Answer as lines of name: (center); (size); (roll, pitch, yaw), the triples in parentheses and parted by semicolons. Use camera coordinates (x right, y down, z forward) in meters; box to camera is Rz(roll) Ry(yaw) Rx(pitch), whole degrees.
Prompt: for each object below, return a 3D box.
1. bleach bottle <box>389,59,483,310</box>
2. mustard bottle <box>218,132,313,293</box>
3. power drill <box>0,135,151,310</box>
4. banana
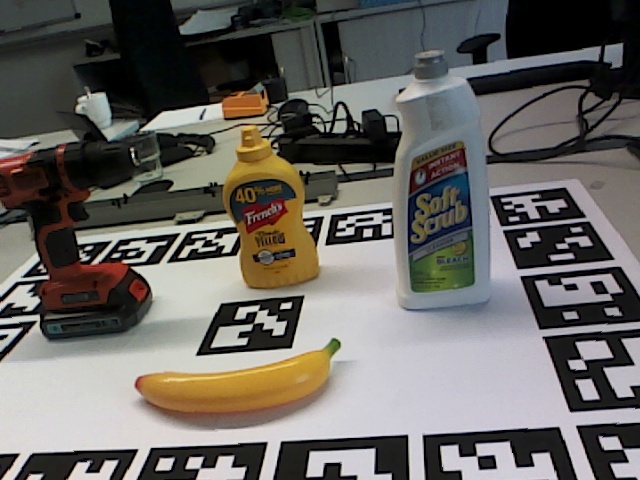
bleach bottle: (0.108, -0.051, 0.619); (0.103, 0.250, 0.068); (-2, 27, 17)
mustard bottle: (-0.067, -0.033, 0.723); (0.096, 0.191, 0.058); (-8, 26, 2)
power drill: (-0.263, -0.019, 0.703); (0.185, 0.186, 0.057); (-12, 26, 7)
banana: (-0.082, 0.124, 0.564); (0.197, 0.039, 0.074); (-11, 28, 7)
